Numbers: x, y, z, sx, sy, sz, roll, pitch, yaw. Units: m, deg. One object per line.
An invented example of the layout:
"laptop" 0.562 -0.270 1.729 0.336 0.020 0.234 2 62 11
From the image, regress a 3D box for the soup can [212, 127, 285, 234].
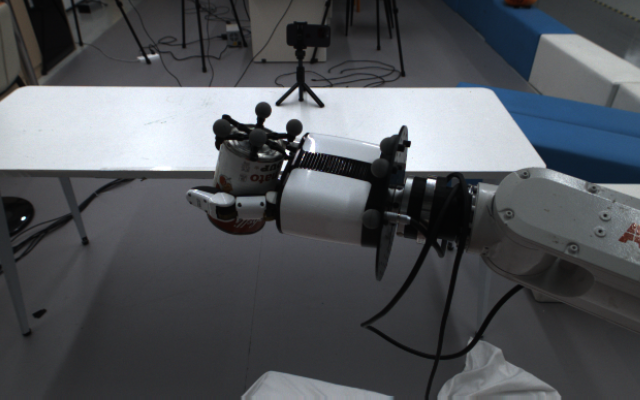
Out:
"soup can" -0.079 -0.021 0.520 0.067 0.101 0.067 14 35 -10
